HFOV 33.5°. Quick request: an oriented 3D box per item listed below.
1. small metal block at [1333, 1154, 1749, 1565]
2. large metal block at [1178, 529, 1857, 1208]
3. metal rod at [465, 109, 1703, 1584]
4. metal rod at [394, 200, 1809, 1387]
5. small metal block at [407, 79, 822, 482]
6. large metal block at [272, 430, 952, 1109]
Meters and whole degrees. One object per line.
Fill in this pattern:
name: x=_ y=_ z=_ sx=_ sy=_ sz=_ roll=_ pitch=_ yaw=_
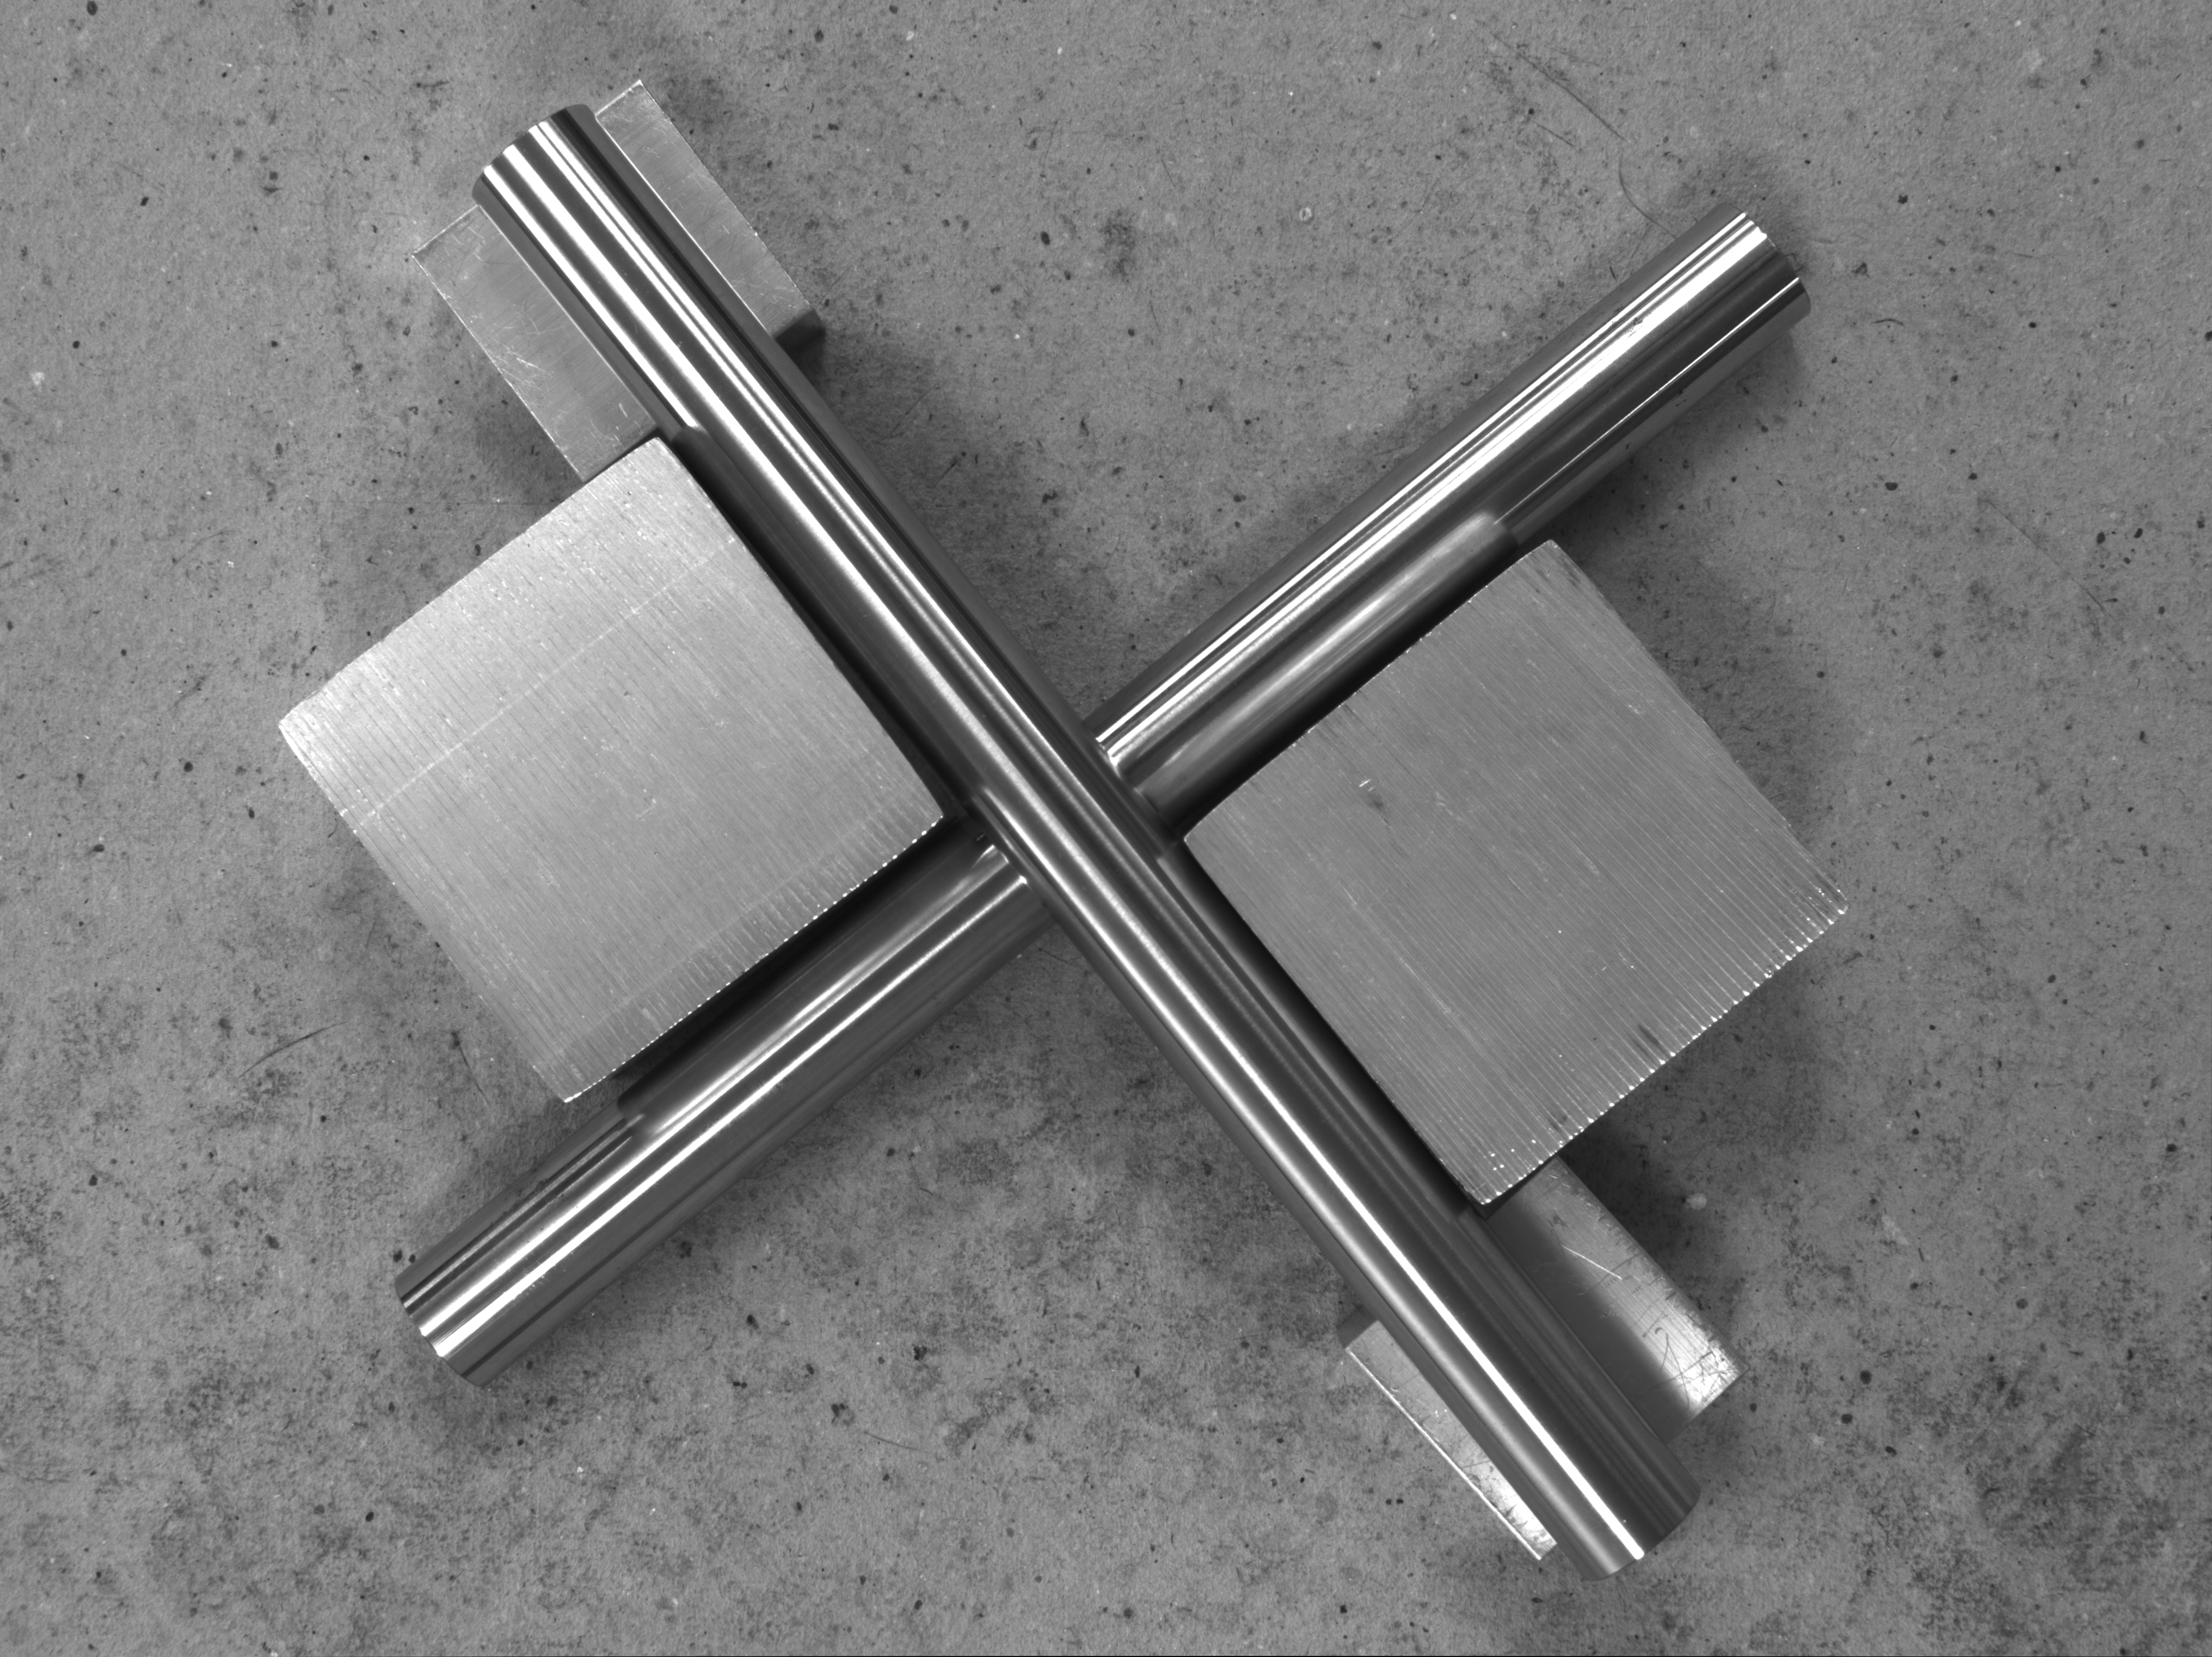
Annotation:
small metal block: x=0.076 y=0.092 z=0.647 sx=0.050 sy=0.025 sz=0.050 roll=-43 pitch=90 yaw=0
large metal block: x=0.068 y=0.007 z=0.633 sx=0.080 sy=0.050 sz=0.080 roll=-39 pitch=90 yaw=0
metal rod: x=-0.004 y=0.003 z=0.620 sx=0.025 sy=0.025 sz=0.300 roll=-39 pitch=90 yaw=0
metal rod: x=-0.001 y=-0.006 z=0.647 sx=0.300 sy=0.025 sz=0.025 roll=-39 pitch=90 yaw=0
small metal block: x=-0.086 y=-0.094 z=0.647 sx=0.050 sy=0.025 sz=0.050 roll=-37 pitch=90 yaw=0
large metal block: x=-0.082 y=-0.010 z=0.632 sx=0.080 sy=0.050 sz=0.080 roll=-37 pitch=90 yaw=0
